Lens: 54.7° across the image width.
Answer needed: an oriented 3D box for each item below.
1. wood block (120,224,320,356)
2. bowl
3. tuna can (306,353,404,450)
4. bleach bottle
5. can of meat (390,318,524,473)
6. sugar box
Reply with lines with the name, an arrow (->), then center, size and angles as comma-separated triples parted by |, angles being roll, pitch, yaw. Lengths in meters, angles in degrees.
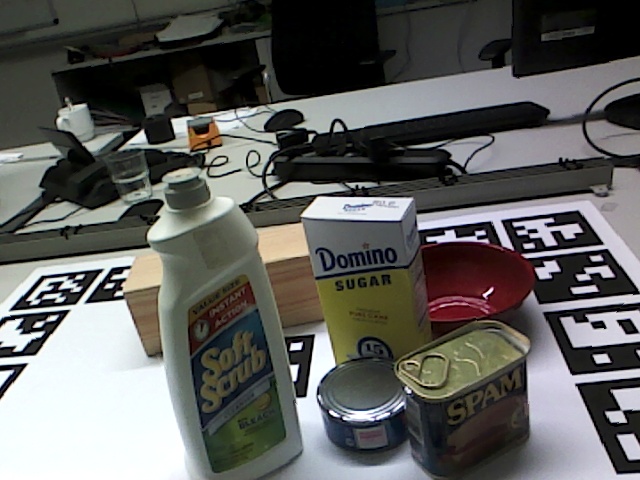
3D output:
wood block -> -0.111, 0.055, 0.718 | 0.206, 0.089, 0.091 | -11, 29, -1
bowl -> 0.142, 0.055, 0.645 | 0.162, 0.055, 0.162 | -13, 24, 5
tuna can -> 0.033, 0.138, 0.534 | 0.086, 0.033, 0.086 | -10, 28, 5
bleach bottle -> -0.085, 0.068, 0.484 | 0.102, 0.250, 0.068 | -19, 25, -15
can of meat -> 0.112, 0.123, 0.491 | 0.101, 0.083, 0.058 | -19, 23, -20
sugar box -> 0.047, 0.046, 0.556 | 0.093, 0.176, 0.045 | -1, 29, 29
